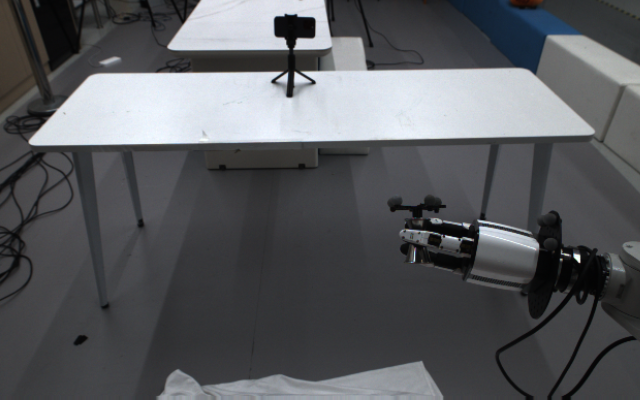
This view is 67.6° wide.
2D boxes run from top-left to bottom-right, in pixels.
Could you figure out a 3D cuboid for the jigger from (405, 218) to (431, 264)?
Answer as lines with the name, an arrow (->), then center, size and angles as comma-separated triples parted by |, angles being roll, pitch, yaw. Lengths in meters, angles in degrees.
jigger -> 0.149, 0.061, 0.743 | 0.043, 0.071, 0.043 | 1, -5, 0
